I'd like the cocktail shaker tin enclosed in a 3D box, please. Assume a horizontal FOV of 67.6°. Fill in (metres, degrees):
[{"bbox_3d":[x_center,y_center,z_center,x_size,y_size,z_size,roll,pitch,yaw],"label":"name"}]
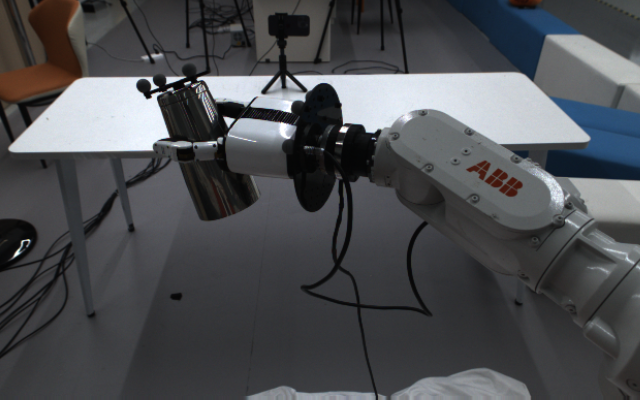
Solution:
[{"bbox_3d":[-0.153,-0.068,0.652,0.093,0.170,0.093,-17,20,7],"label":"cocktail shaker tin"}]
